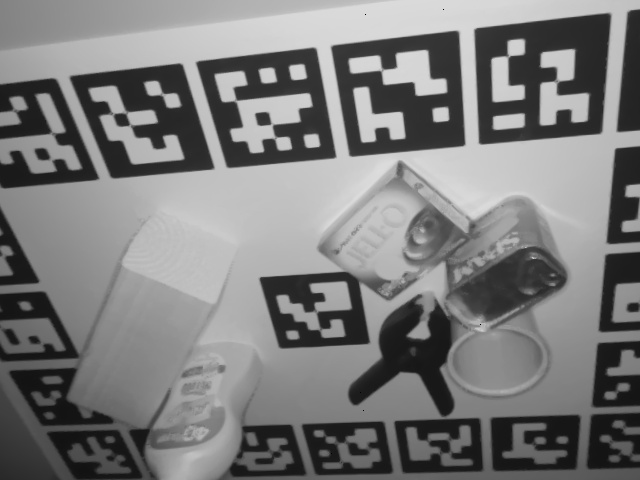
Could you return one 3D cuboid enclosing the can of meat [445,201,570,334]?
[{"bbox_3d":[0.161,0.022,0.613,0.100,0.084,0.058,-33,113,25],"label":"can of meat"}]

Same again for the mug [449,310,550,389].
[{"bbox_3d":[0.171,0.096,0.695,0.093,0.082,0.116,14,122,-2],"label":"mug"}]

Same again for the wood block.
[{"bbox_3d":[-0.173,0.082,0.697,0.090,0.092,0.203,26,125,-12],"label":"wood block"}]

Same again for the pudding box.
[{"bbox_3d":[0.065,-0.004,0.640,0.090,0.039,0.112,38,121,-17],"label":"pudding box"}]

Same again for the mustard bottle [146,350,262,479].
[{"bbox_3d":[-0.122,0.195,0.699,0.096,0.193,0.058,-9,121,12],"label":"mustard bottle"}]

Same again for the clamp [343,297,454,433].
[{"bbox_3d":[0.097,0.132,0.733,0.122,0.037,0.163,12,122,0],"label":"clamp"}]
